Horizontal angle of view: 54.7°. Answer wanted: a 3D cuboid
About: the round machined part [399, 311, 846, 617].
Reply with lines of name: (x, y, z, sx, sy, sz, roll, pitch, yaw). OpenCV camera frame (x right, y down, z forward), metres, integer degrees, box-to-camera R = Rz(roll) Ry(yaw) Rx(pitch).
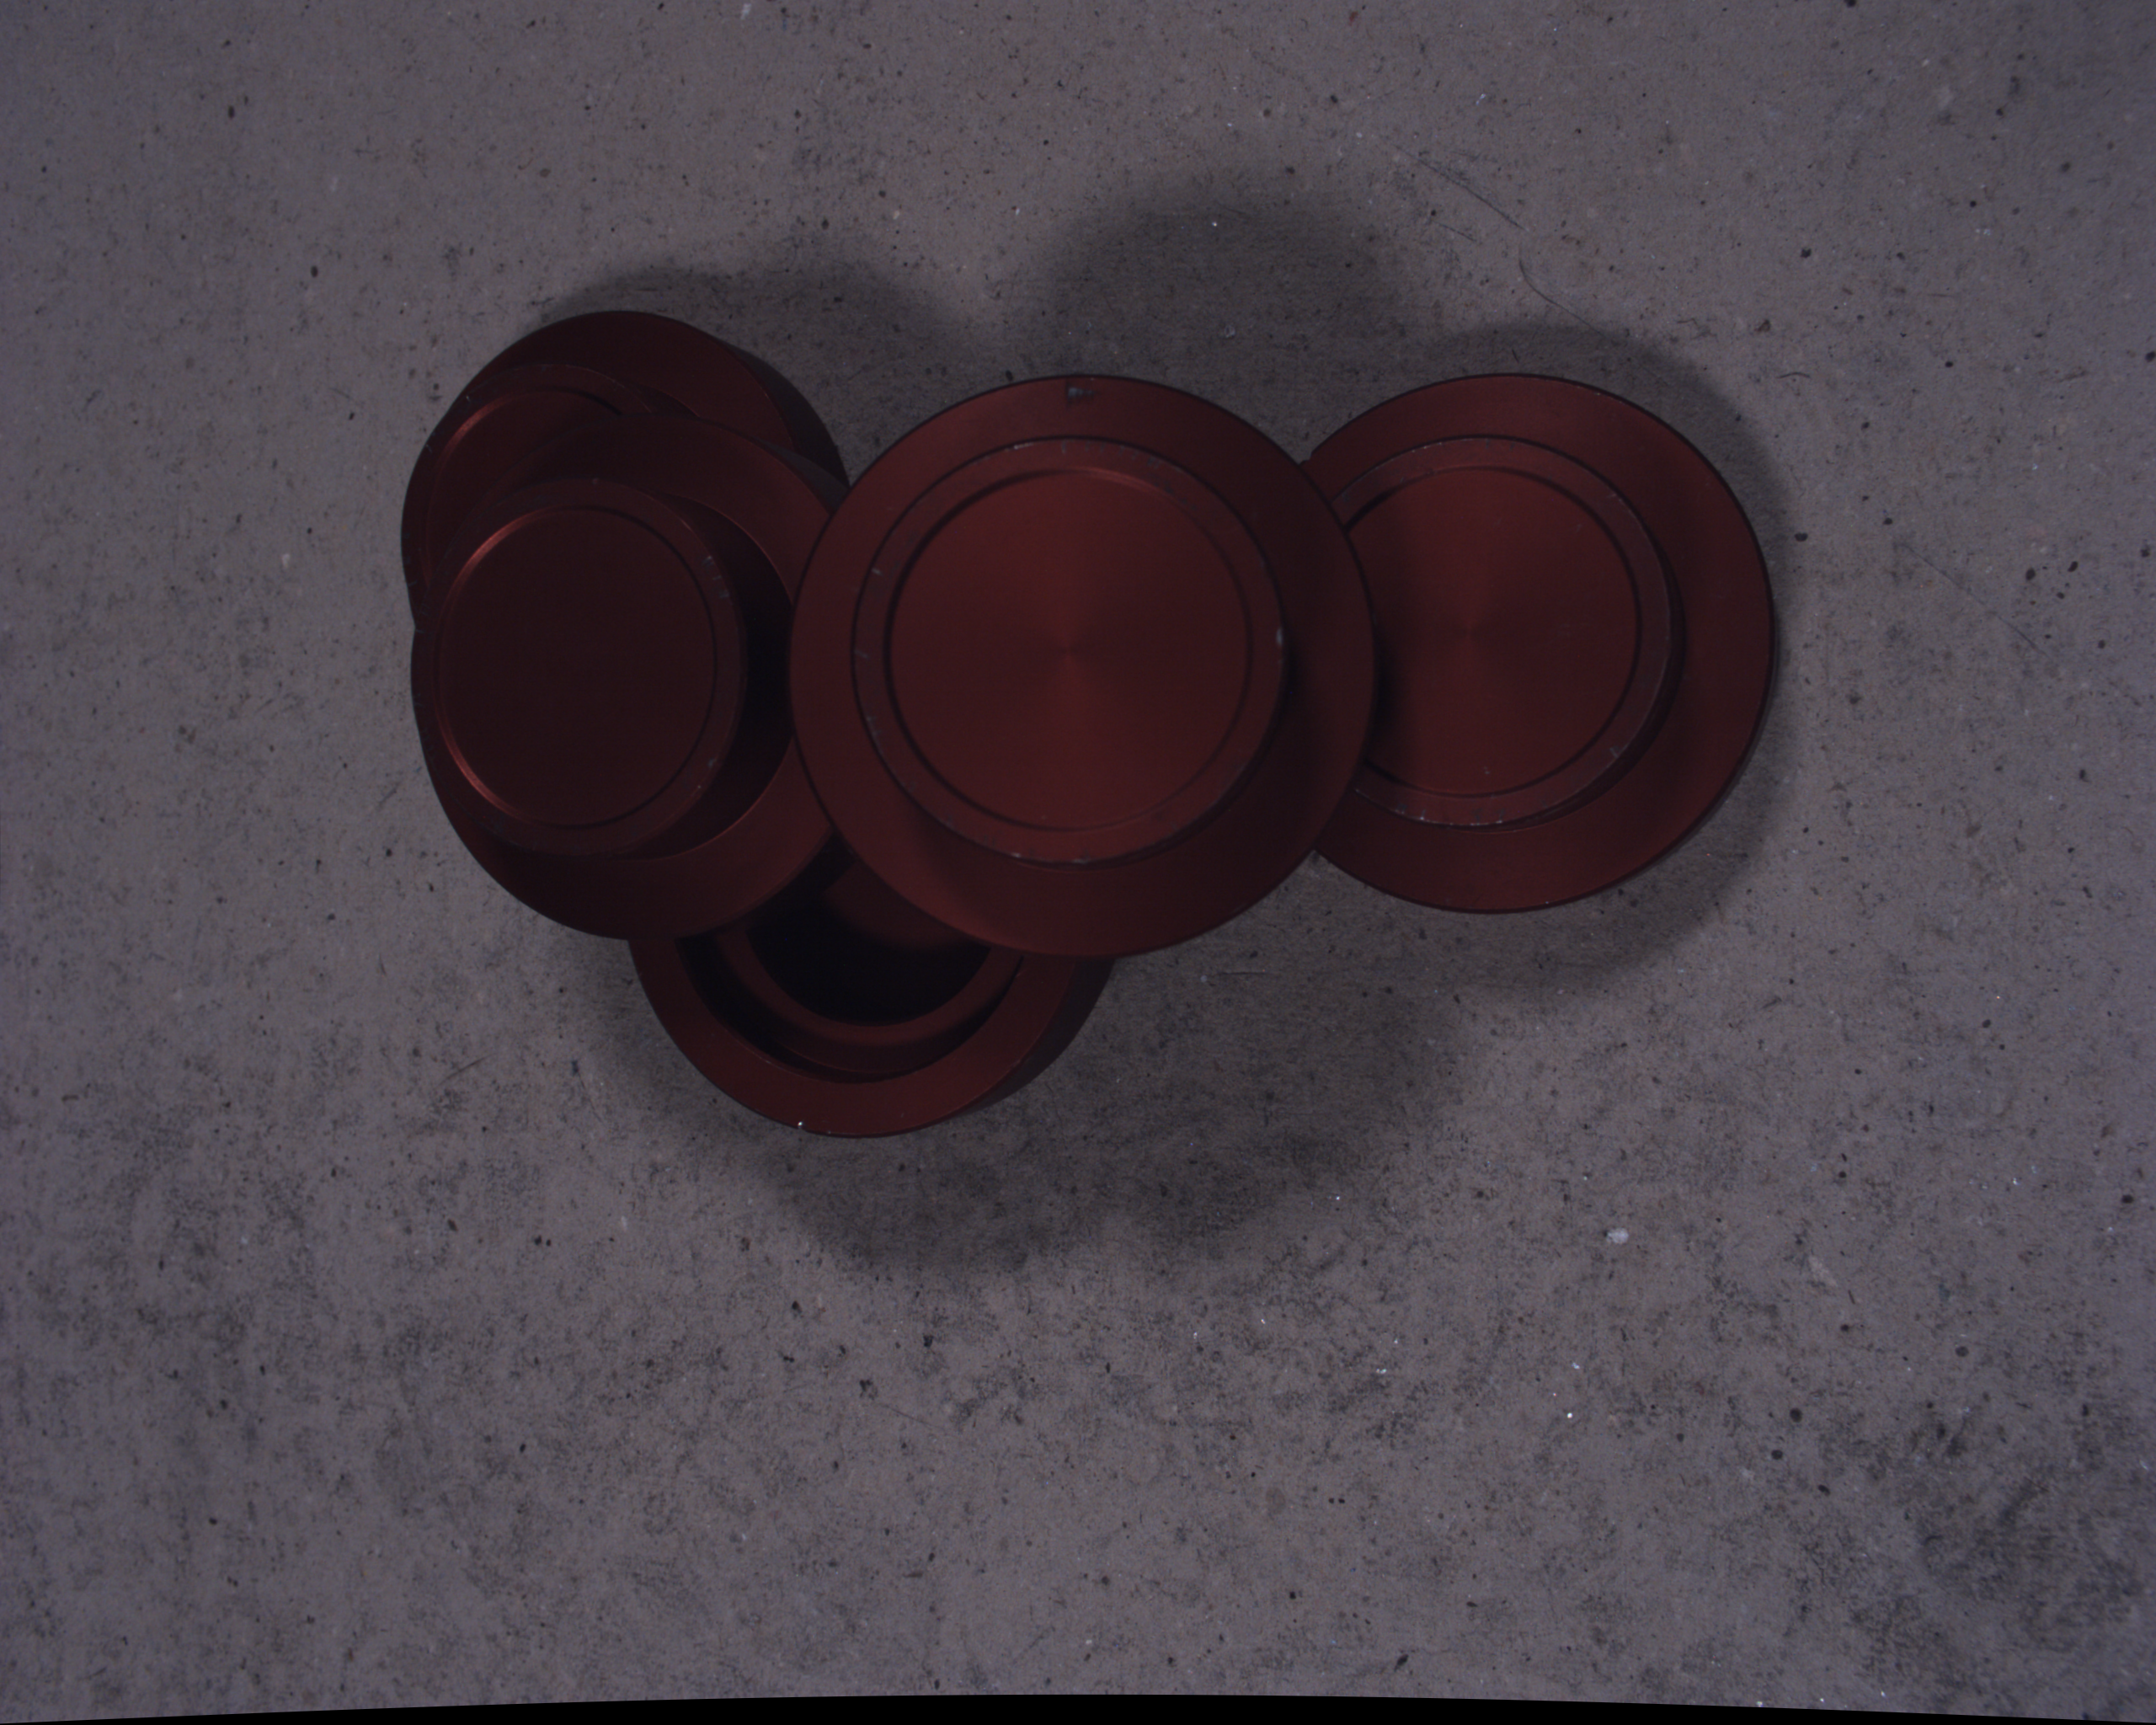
round machined part: (-0.100, -0.066, 0.434, 0.098, 0.042, 0.097, 0, 90, 19)

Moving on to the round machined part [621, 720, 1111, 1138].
round machined part: (-0.037, 0.003, 0.413, 0.098, 0.042, 0.097, 0, 90, 19)

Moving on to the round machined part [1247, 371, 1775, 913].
round machined part: (0.073, -0.040, 0.374, 0.098, 0.042, 0.097, 0, 90, 19)

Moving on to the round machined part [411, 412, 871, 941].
round machined part: (-0.081, -0.034, 0.384, 0.098, 0.042, 0.097, 0, 90, 19)

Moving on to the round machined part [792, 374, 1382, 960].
round machined part: (0.001, -0.033, 0.345, 0.099, 0.042, 0.097, 0, 89, 6)
